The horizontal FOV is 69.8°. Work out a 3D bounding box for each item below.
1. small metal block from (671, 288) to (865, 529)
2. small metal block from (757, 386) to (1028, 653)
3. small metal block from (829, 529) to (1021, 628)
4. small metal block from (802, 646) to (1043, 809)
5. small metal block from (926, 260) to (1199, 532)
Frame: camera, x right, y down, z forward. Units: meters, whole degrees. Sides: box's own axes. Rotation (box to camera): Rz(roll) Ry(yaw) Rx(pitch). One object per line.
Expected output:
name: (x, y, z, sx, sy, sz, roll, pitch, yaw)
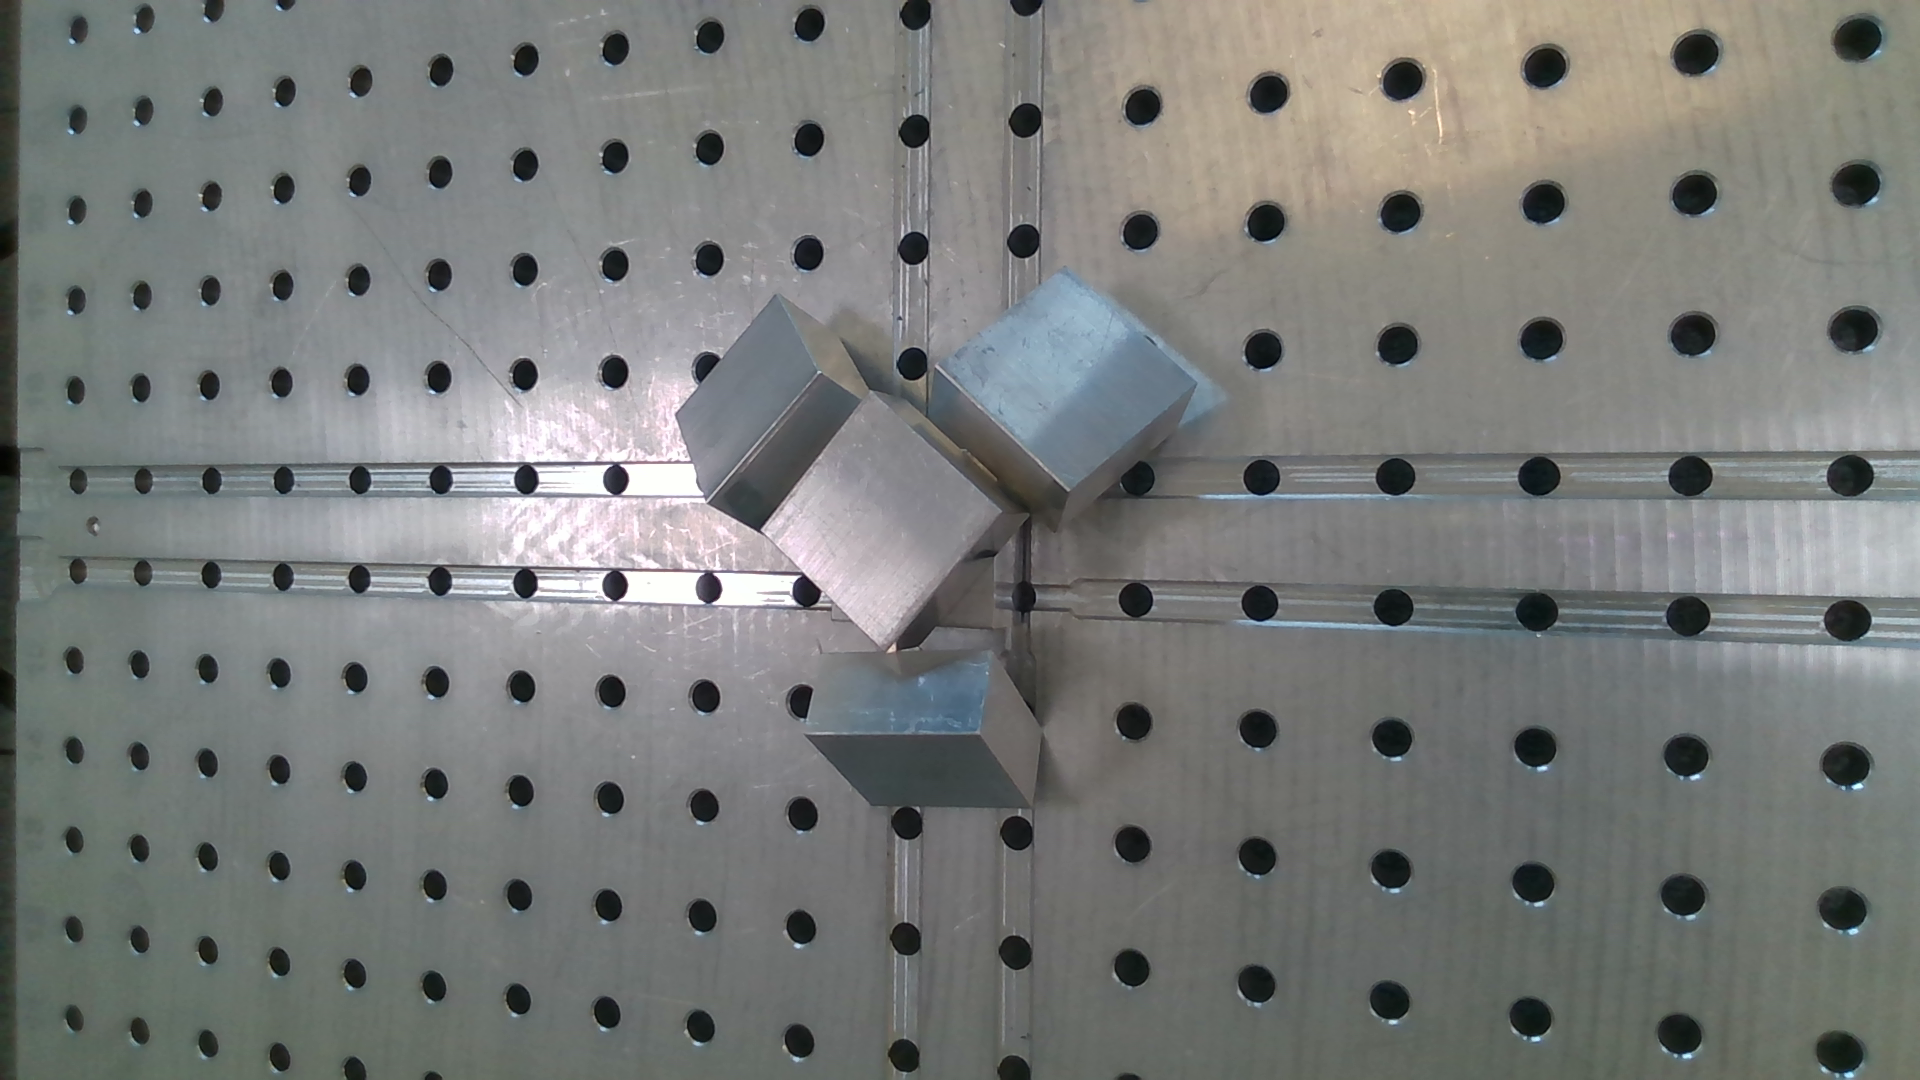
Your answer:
small metal block: (-0.055, -0.037, 0.402, 0.050, 0.025, 0.050, -47, 38, 14)
small metal block: (-0.018, -0.006, 0.376, 0.050, 0.025, 0.050, 43, 104, 14)
small metal block: (-0.009, -0.001, 0.400, 0.050, 0.025, 0.050, 2, 91, 23)
small metal block: (-0.009, 0.053, 0.384, 0.050, 0.050, 0.025, -3, 56, 20)
small metal block: (0.027, -0.039, 0.373, 0.050, 0.025, 0.050, -40, 75, -21)
